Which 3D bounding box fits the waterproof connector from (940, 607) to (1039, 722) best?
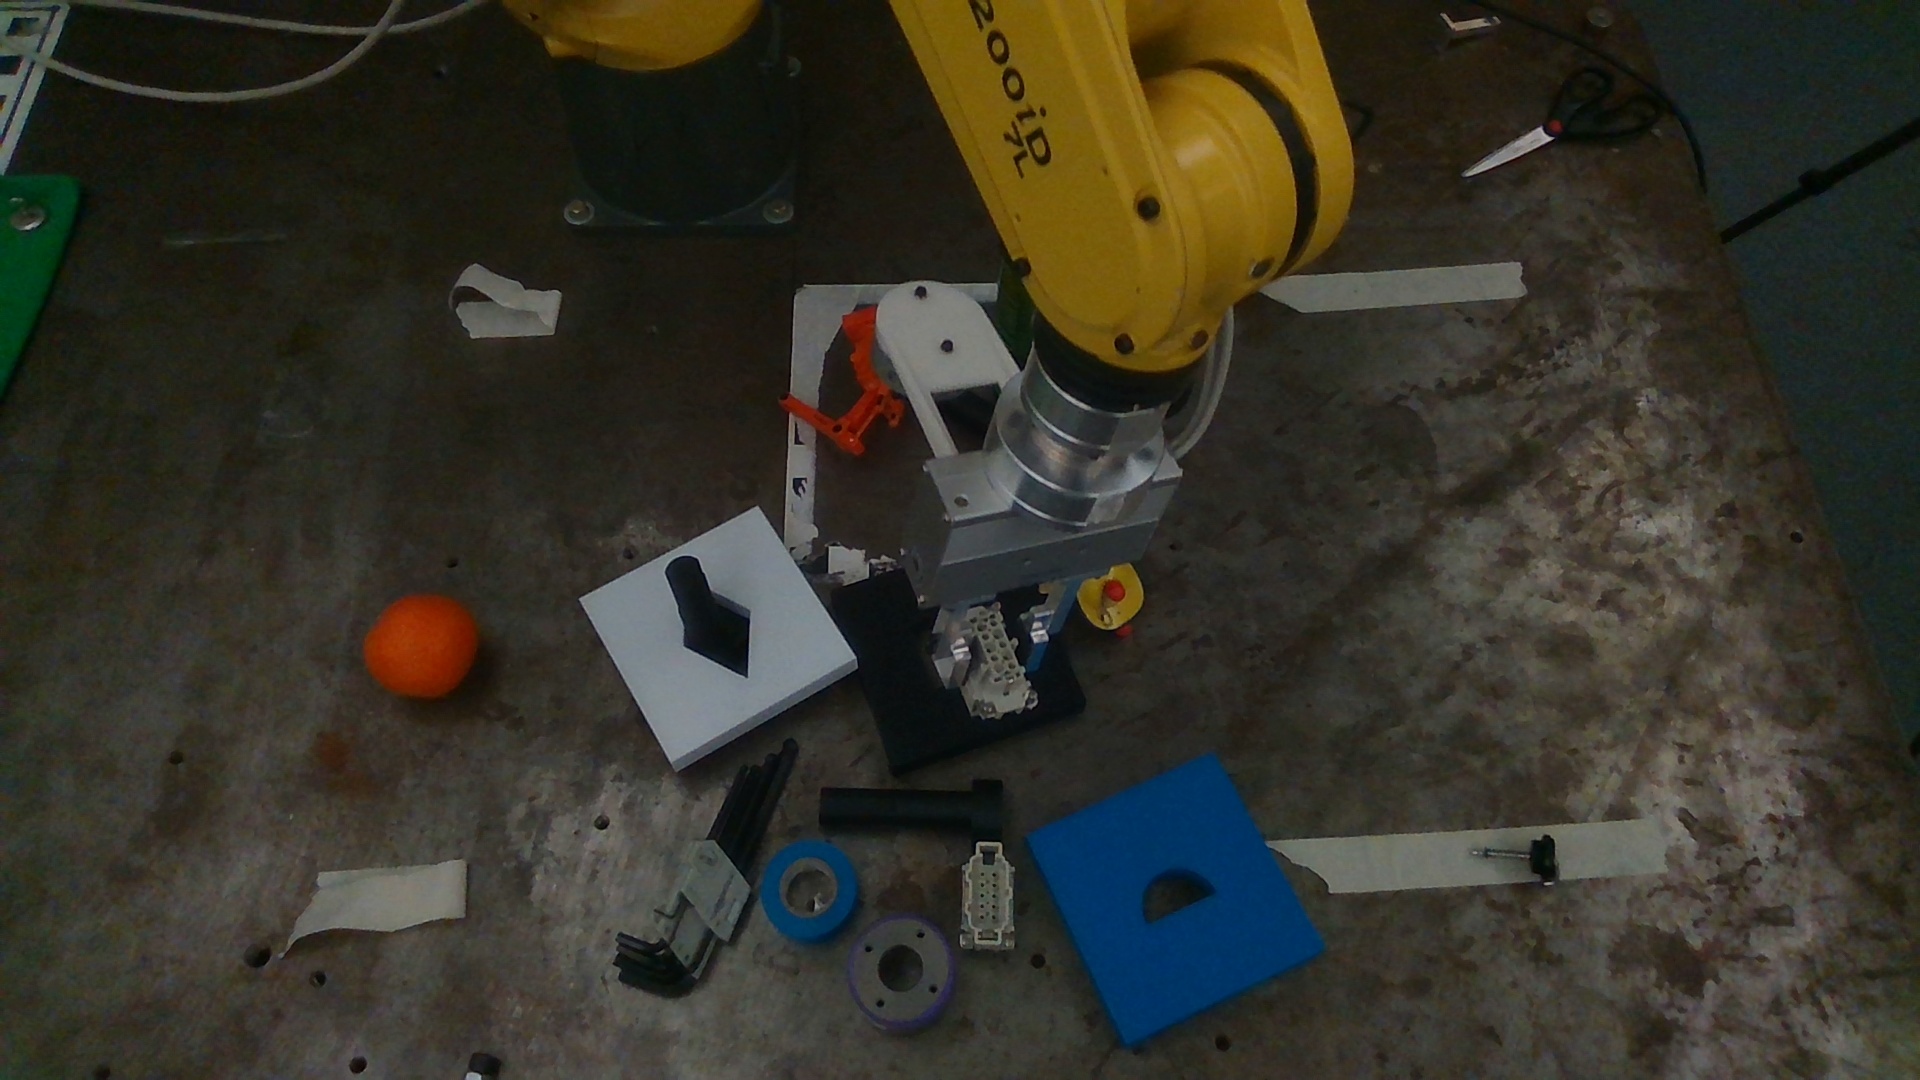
[{"bbox_3d":[0.016,0.069,0.787,0.036,0.038,0.069,-16,57,-14],"label":"waterproof connector"}]
